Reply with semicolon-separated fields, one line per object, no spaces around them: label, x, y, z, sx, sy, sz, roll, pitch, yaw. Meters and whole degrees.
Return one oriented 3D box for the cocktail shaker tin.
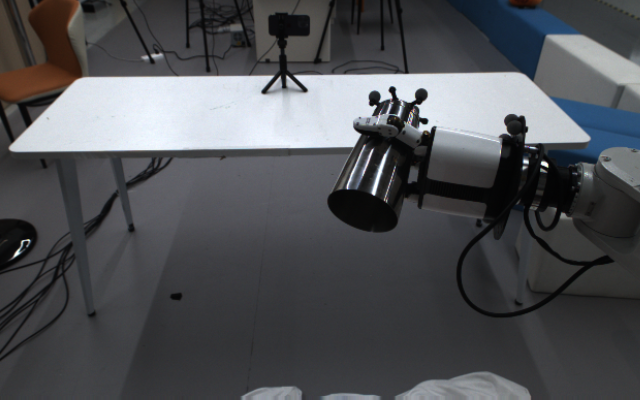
cocktail shaker tin;0.080;-0.054;0.641;0.093;0.093;0.170;14;57;16
